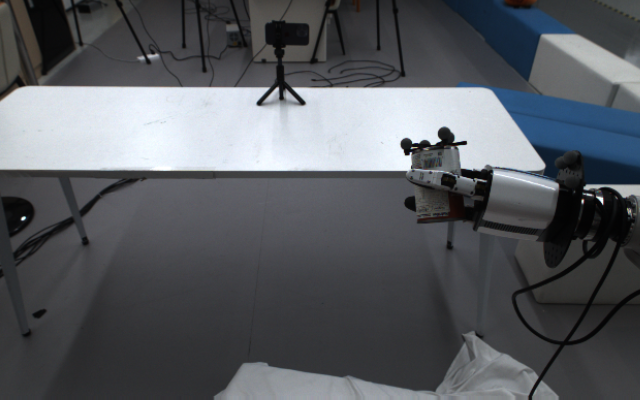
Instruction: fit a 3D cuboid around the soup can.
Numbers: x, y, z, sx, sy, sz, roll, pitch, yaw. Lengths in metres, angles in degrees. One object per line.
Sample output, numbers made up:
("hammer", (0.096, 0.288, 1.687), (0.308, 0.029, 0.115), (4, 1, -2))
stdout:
("soup can", (0.167, -0.021, 0.681), (0.067, 0.101, 0.067), (-5, -5, 0))
